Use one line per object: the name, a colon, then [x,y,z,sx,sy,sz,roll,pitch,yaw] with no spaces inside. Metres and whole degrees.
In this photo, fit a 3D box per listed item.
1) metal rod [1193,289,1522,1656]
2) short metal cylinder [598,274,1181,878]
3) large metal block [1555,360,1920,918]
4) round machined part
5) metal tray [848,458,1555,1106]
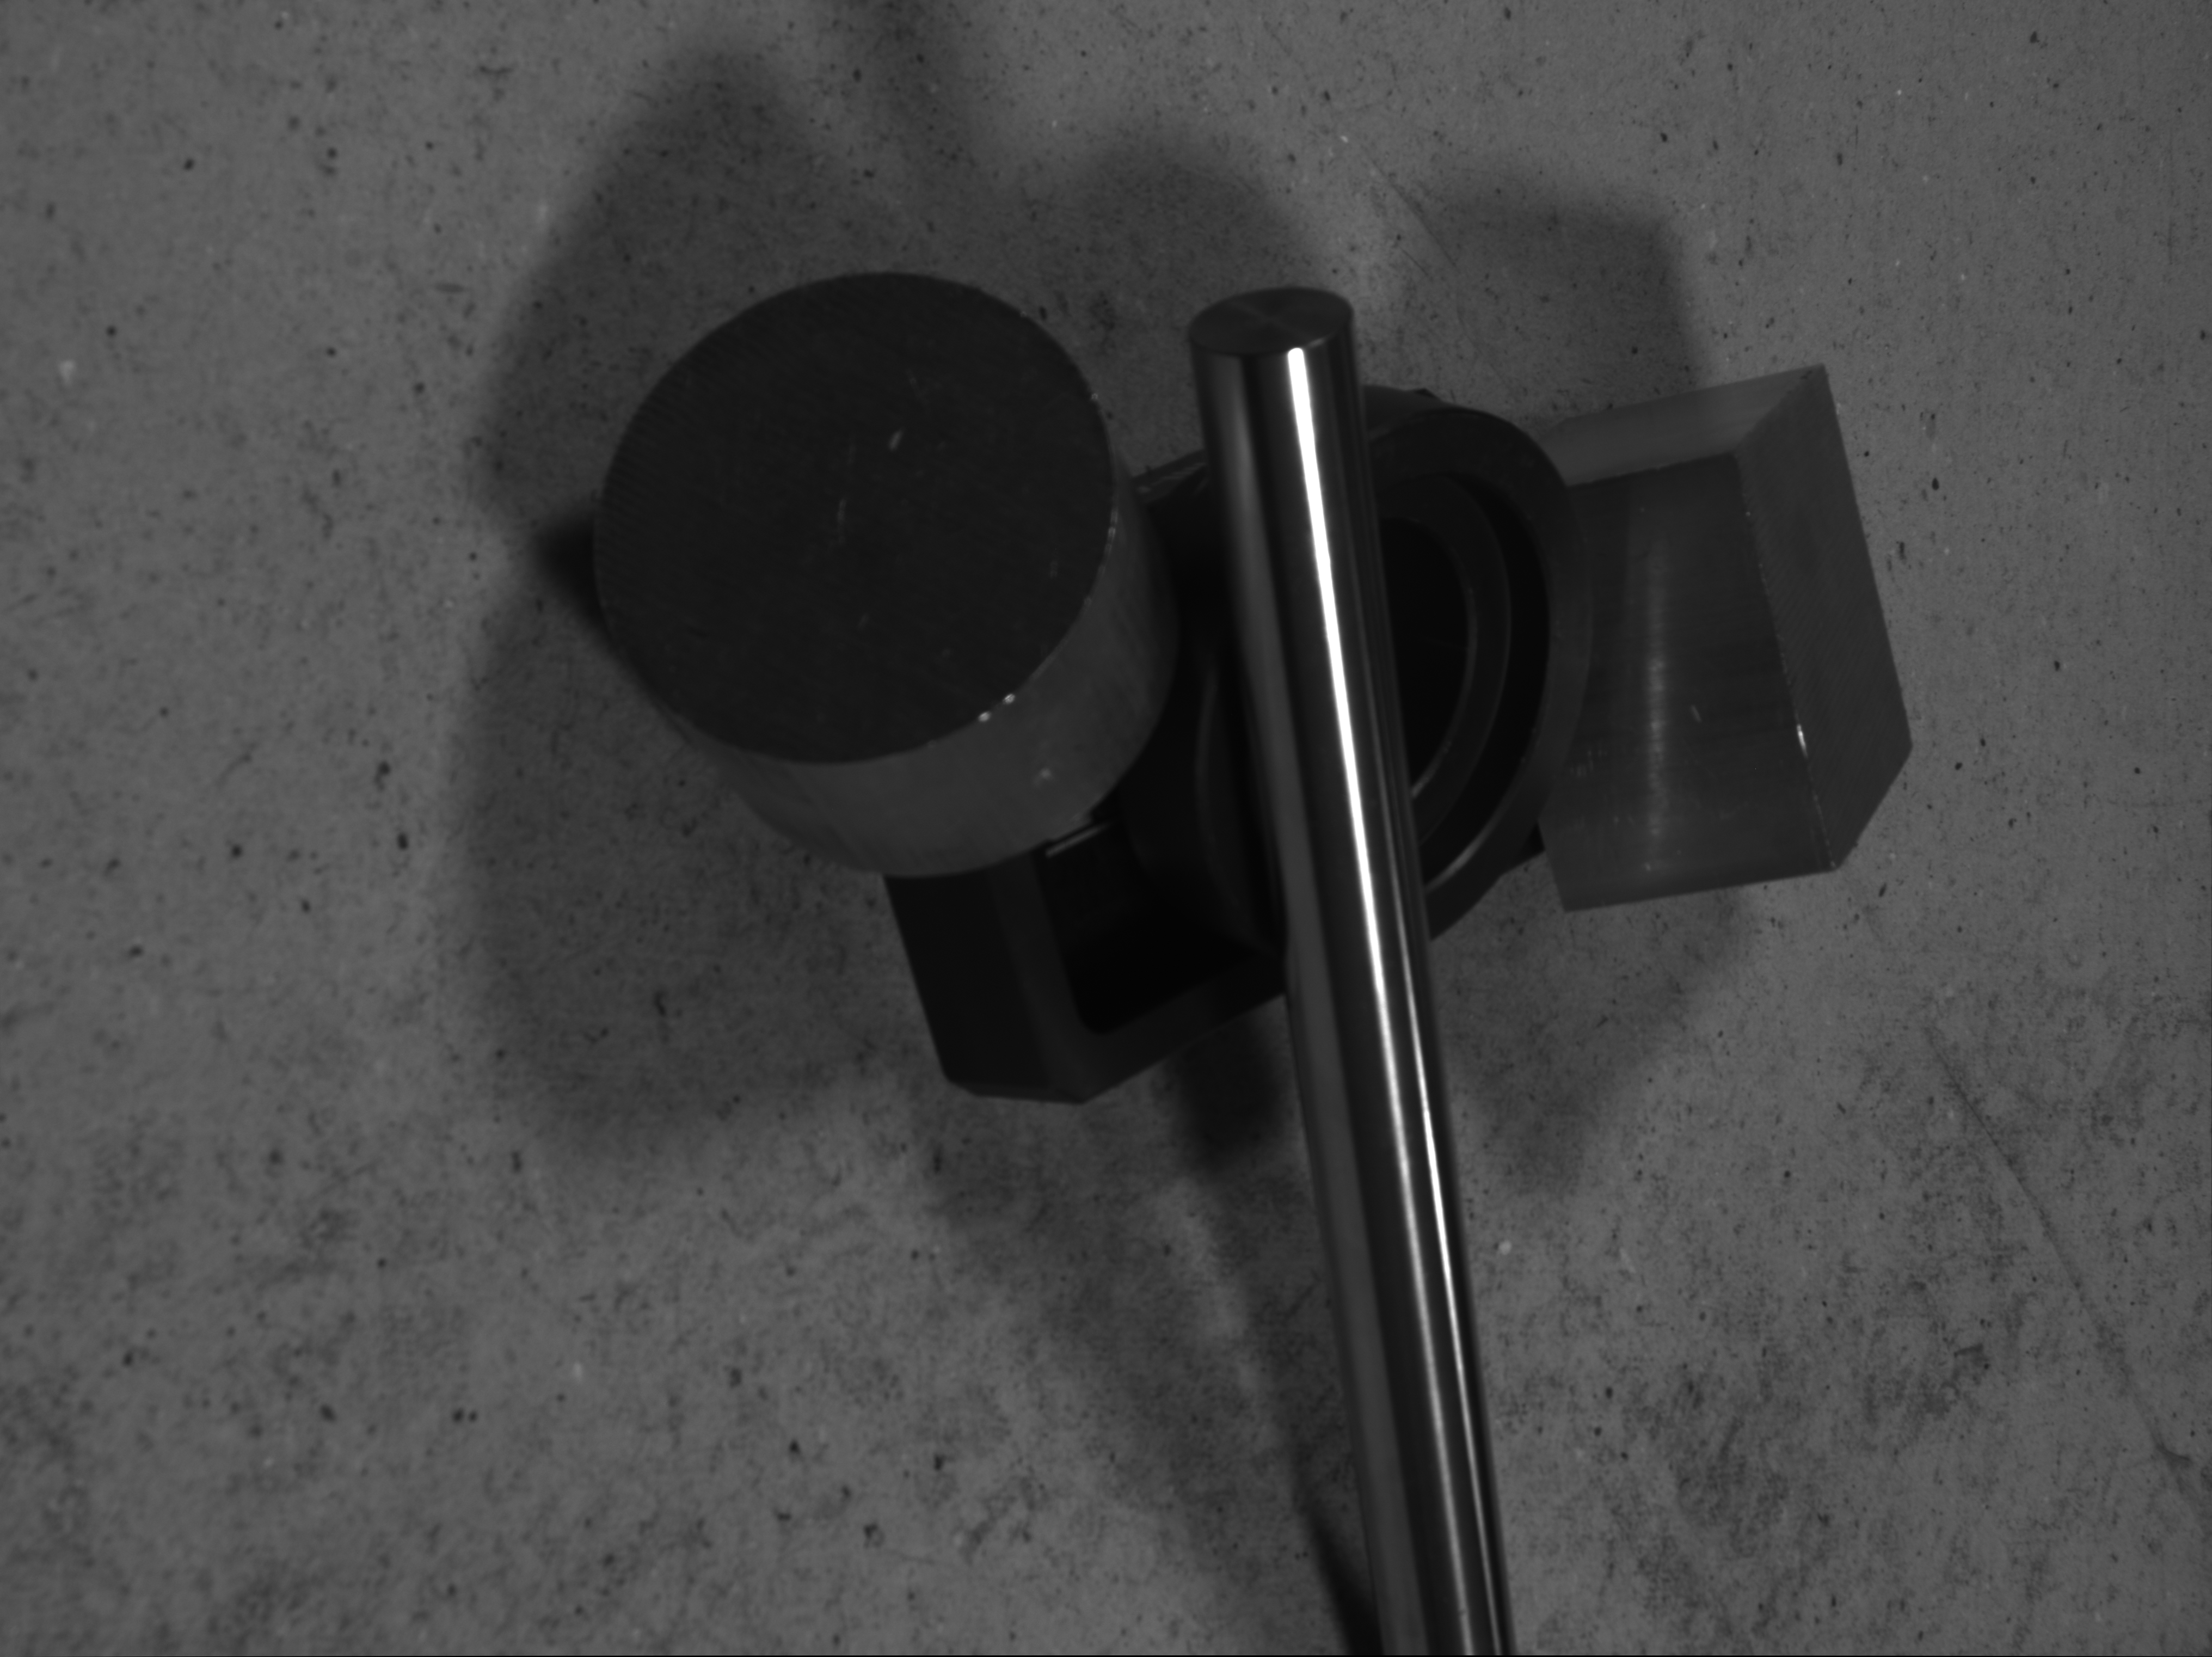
metal rod: [0.047,0.053,0.620,0.025,0.025,0.300,-33,128,-35]
short metal cylinder: [-0.032,-0.038,0.567,0.050,0.080,0.080,59,47,-67]
large metal block: [0.114,-0.037,0.694,0.080,0.050,0.080,-40,117,-61]
round machined part: [0.038,-0.028,0.627,0.098,0.042,0.098,-18,117,-39]
metal tray: [0.019,-0.017,0.650,0.130,0.030,0.090,-26,106,-37]
